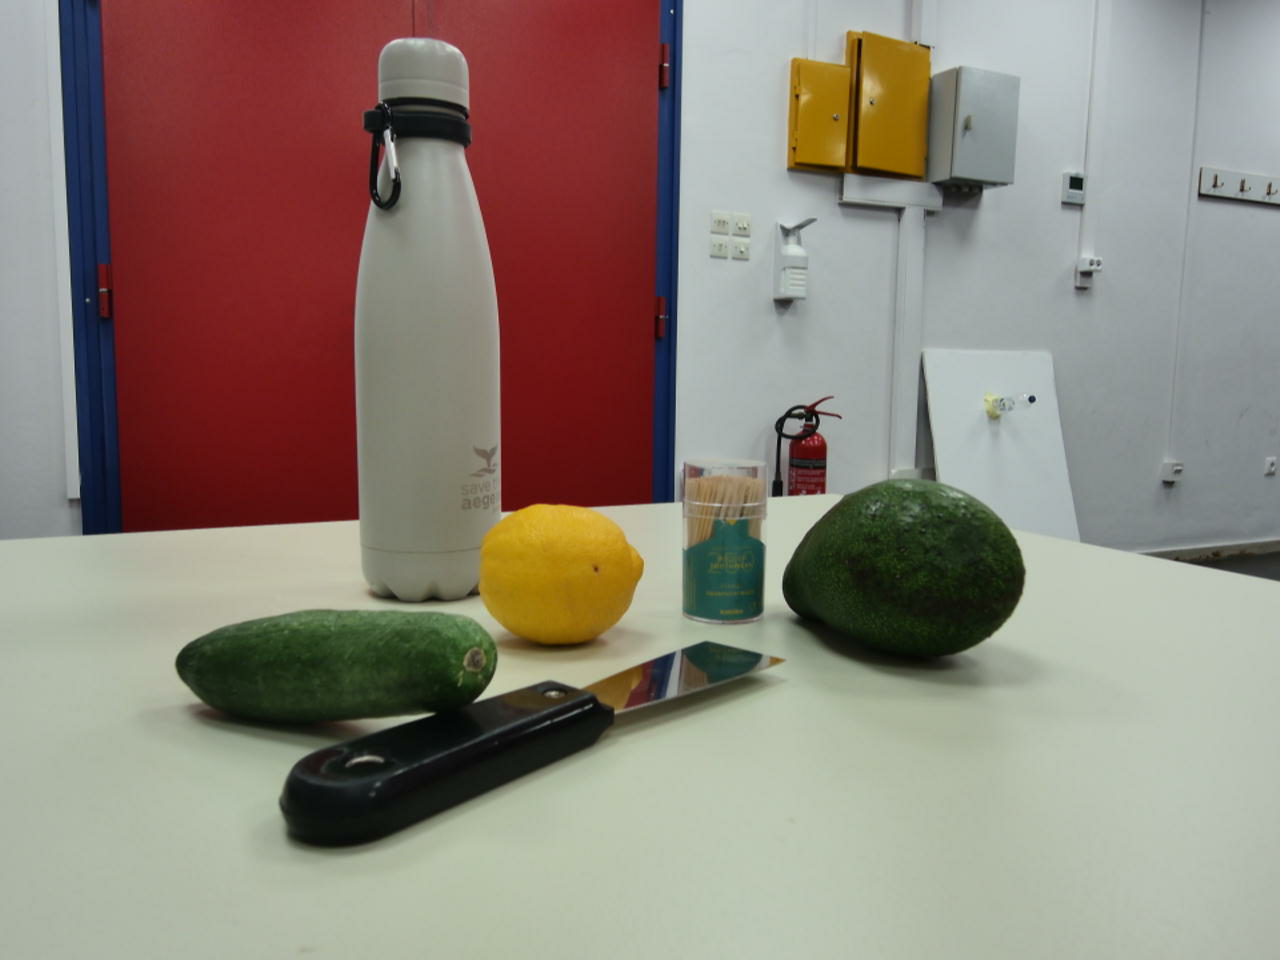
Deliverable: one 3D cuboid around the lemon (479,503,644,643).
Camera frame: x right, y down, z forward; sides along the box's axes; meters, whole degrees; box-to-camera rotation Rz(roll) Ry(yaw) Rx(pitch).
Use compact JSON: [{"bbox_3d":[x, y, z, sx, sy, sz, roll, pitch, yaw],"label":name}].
[{"bbox_3d":[-0.035,0.040,0.429,0.067,0.059,0.060,1,4,16],"label":"lemon"}]
